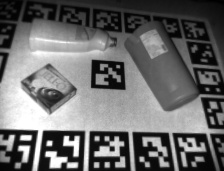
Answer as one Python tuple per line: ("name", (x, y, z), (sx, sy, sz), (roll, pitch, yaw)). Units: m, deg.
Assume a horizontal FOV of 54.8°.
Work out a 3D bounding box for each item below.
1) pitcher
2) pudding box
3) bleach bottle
("pitcher", (0.156, -0.058, 0.646), (0.191, 0.132, 0.241), (-4, 63, -52))
("pudding box", (-0.161, -0.002, 0.578), (0.113, 0.038, 0.090), (44, 57, 11))
("bleach bottle", (-0.106, -0.156, 0.664), (0.252, 0.068, 0.102), (1, 66, -13))
